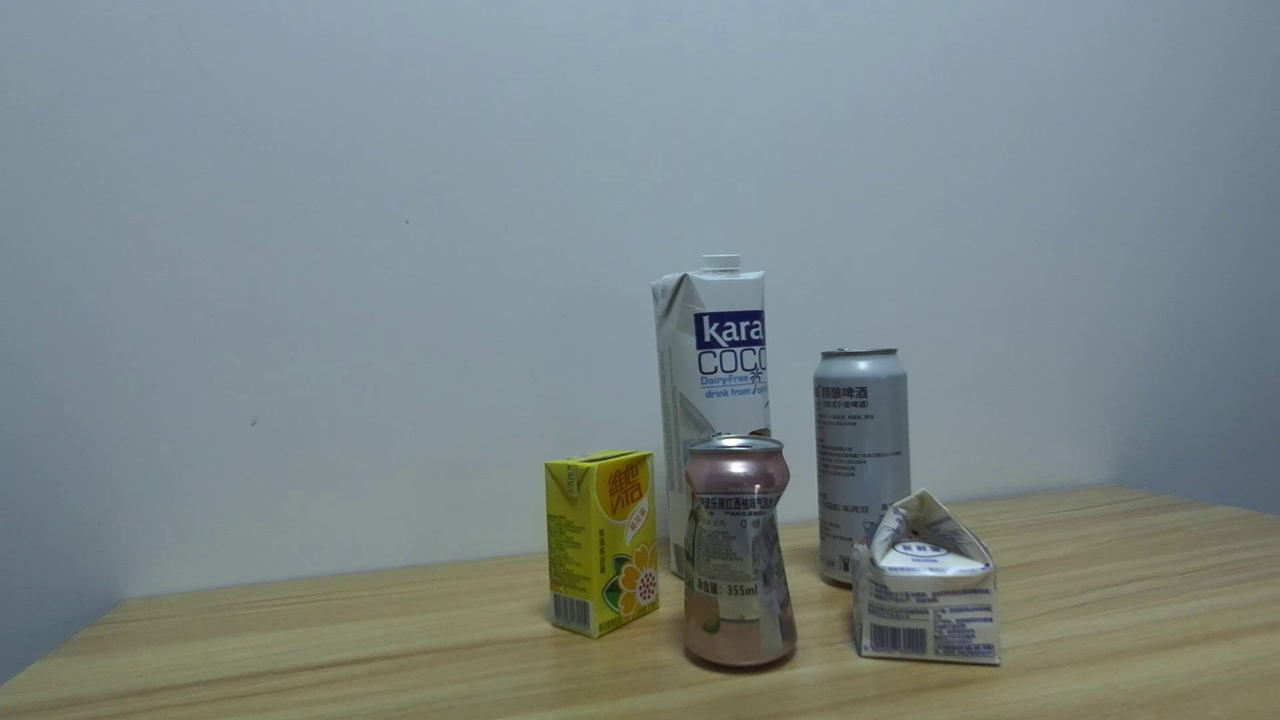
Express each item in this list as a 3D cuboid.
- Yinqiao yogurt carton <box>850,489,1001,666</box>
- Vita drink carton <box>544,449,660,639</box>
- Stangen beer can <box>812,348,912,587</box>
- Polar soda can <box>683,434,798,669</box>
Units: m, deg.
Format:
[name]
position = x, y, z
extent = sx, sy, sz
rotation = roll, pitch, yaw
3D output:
[Yinqiao yogurt carton]
position = 0.162, 0.117, 0.408
extent = 0.077, 0.093, 0.083
rotation = -2, -2, 15
[Vita drink carton]
position = -0.023, 0.117, 0.469
extent = 0.043, 0.109, 0.067
rotation = -1, 1, 40
[Stangen beer can]
position = 0.164, 0.078, 0.520
extent = 0.067, 0.171, 0.067
rotation = -2, -1, 0
[Polar soda can]
position = 0.058, 0.109, 0.407
extent = 0.074, 0.121, 0.067
rotation = -2, -1, -37
